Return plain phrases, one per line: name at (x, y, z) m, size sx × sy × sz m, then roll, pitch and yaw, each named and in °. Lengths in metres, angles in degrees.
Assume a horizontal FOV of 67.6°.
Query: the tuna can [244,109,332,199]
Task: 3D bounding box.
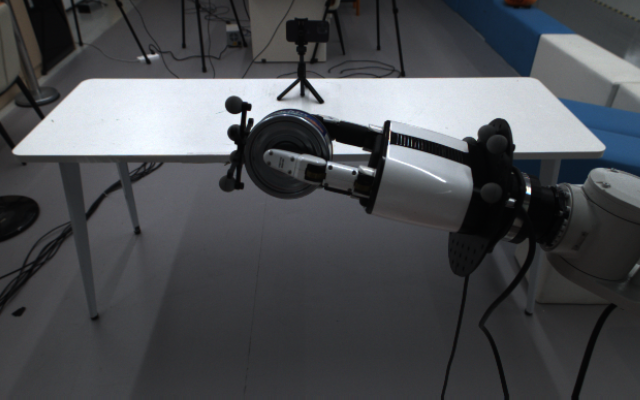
tuna can at (-0.027, -0.042, 0.476) m, size 0.085 × 0.085 × 0.034 m, roll 4°, pitch 18°, yaw 3°
